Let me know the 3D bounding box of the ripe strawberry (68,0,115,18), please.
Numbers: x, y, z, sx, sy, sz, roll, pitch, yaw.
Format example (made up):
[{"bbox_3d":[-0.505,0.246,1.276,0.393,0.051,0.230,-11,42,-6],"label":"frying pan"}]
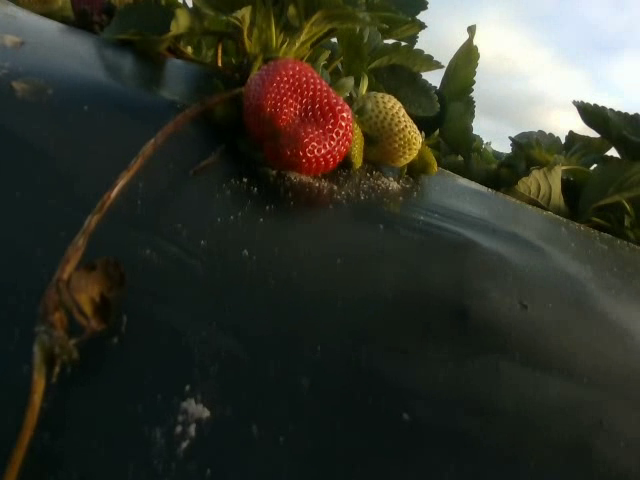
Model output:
[{"bbox_3d":[-0.162,-0.173,0.450,0.058,0.071,0.057,-22,-9,-40],"label":"ripe strawberry"}]

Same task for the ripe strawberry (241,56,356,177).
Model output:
[{"bbox_3d":[-0.007,-0.051,0.226,0.047,0.035,0.050,22,34,3],"label":"ripe strawberry"}]
